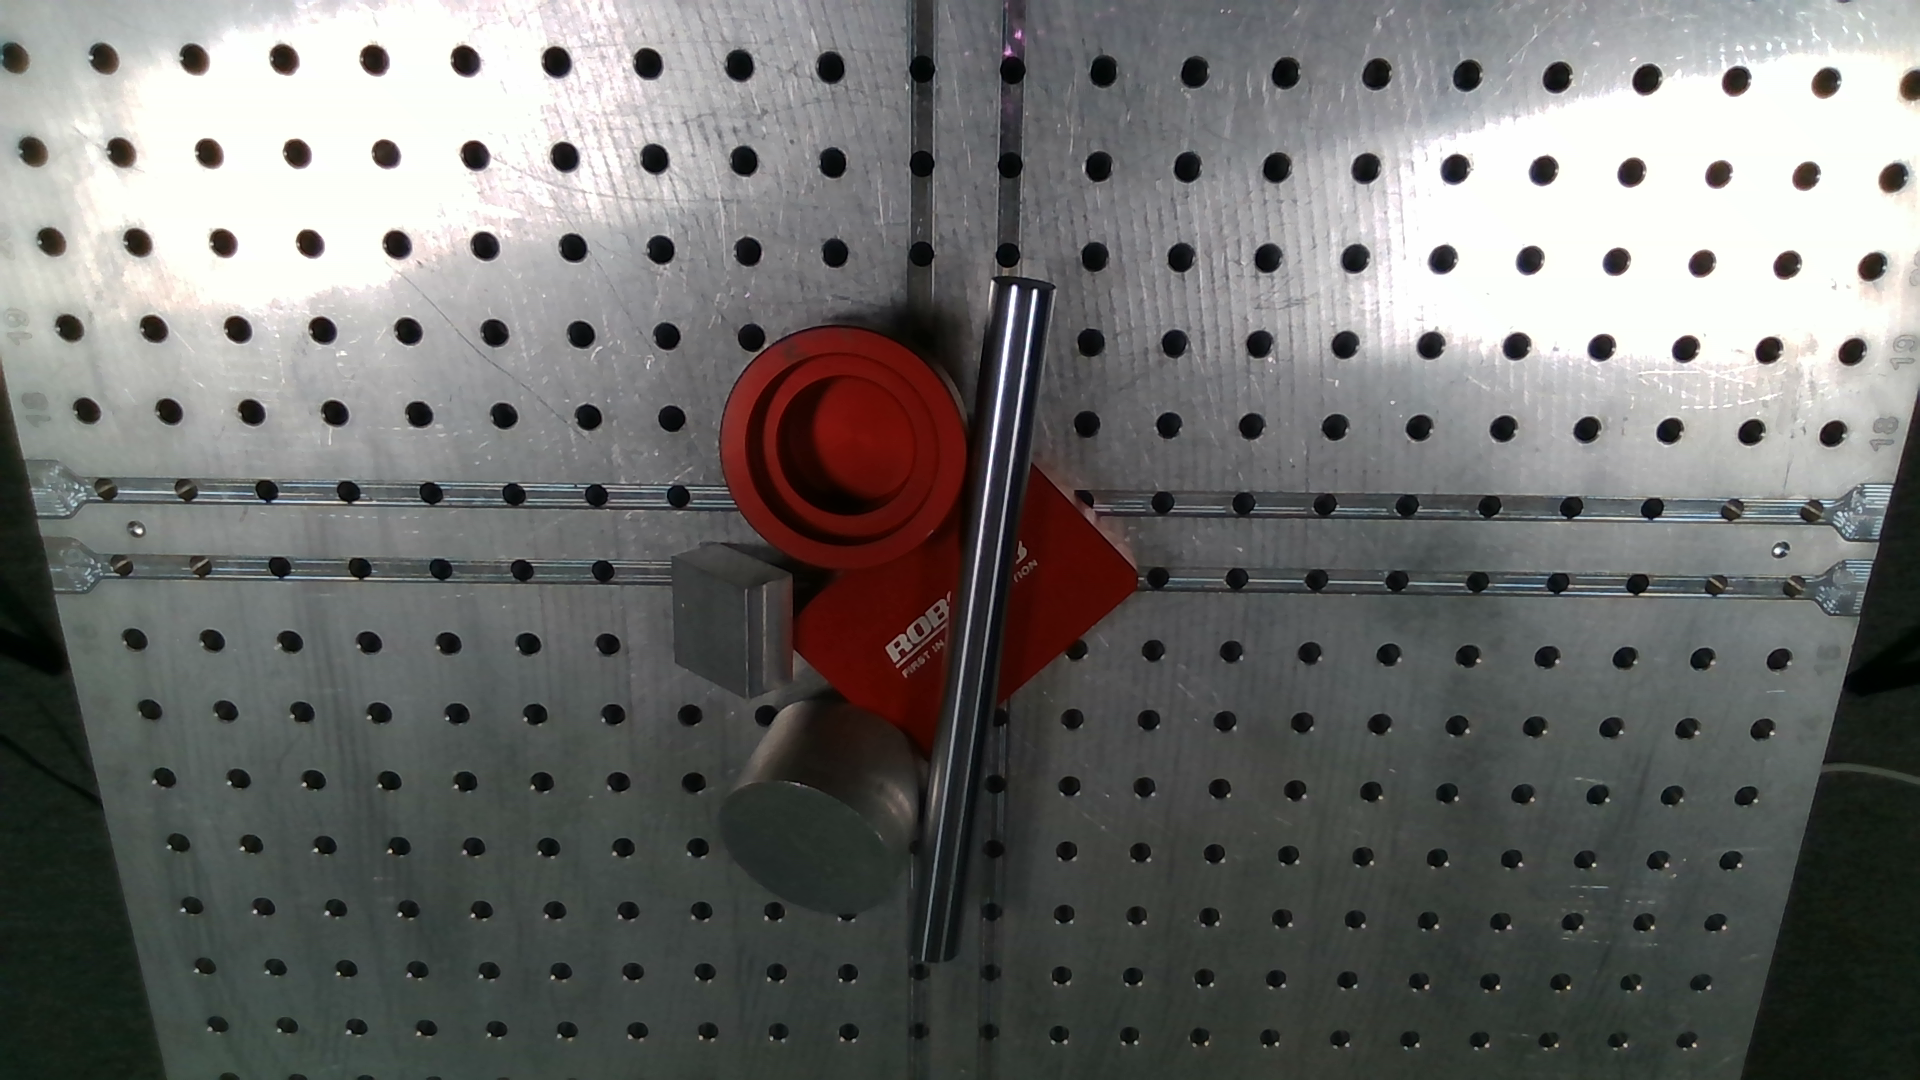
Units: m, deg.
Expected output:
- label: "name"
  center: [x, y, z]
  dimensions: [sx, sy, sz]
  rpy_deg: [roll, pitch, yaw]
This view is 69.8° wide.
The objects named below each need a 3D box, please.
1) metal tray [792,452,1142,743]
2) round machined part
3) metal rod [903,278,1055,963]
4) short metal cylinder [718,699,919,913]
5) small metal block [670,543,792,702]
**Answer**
- label: "metal tray"
  center: [0.001, 0.024, 0.594]
  dimensions: [0.130, 0.030, 0.090]
  rpy_deg: [-42, 105, 14]
- label: "round machined part"
  center: [-0.044, -0.040, 0.558]
  dimensions: [0.098, 0.042, 0.098]
  rpy_deg: [2, 105, 6]
- label: "metal rod"
  center: [0.005, 0.043, 0.570]
  dimensions: [0.025, 0.025, 0.301]
  rpy_deg: [7, 110, -2]
- label: "short metal cylinder"
  center: [-0.058, 0.116, 0.601]
  dimensions: [0.080, 0.050, 0.080]
  rpy_deg: [11, 129, 14]
- label: "small metal block"
  center: [-0.097, 0.034, 0.585]
  dimensions: [0.050, 0.025, 0.050]
  rpy_deg: [20, 117, 39]
